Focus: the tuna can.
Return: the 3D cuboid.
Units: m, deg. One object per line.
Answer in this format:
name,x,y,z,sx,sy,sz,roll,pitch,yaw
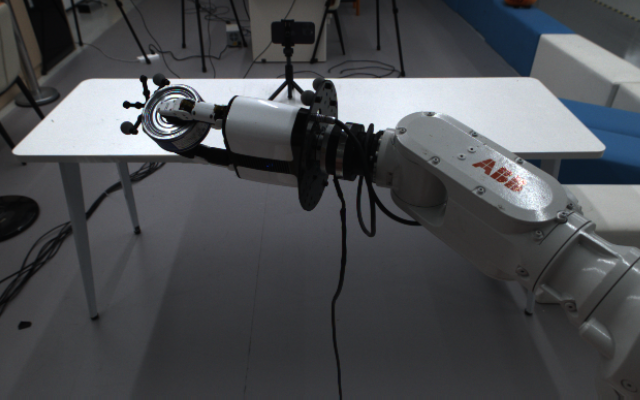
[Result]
tuna can,-0.187,-0.109,0.634,0.085,0.034,0.085,-3,71,10
